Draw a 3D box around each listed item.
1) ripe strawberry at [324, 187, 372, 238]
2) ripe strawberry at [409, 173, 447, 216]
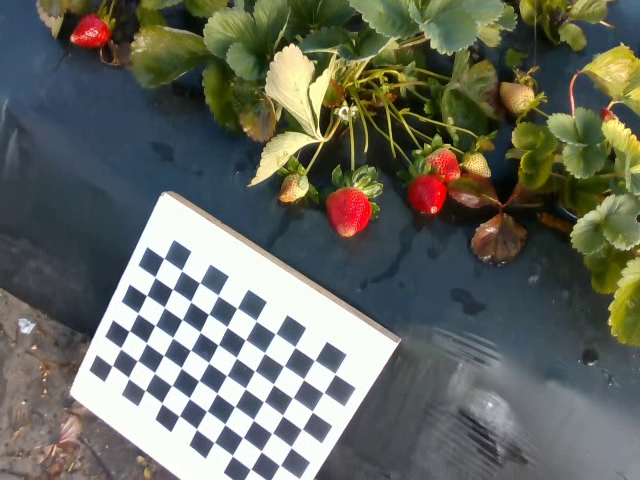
[{"bbox_3d":[0.028,-0.026,0.613,0.050,0.050,0.065,-8,38,20],"label":"ripe strawberry"},{"bbox_3d":[0.111,-0.043,0.626,0.044,0.055,0.041,-33,-56,19],"label":"ripe strawberry"}]
